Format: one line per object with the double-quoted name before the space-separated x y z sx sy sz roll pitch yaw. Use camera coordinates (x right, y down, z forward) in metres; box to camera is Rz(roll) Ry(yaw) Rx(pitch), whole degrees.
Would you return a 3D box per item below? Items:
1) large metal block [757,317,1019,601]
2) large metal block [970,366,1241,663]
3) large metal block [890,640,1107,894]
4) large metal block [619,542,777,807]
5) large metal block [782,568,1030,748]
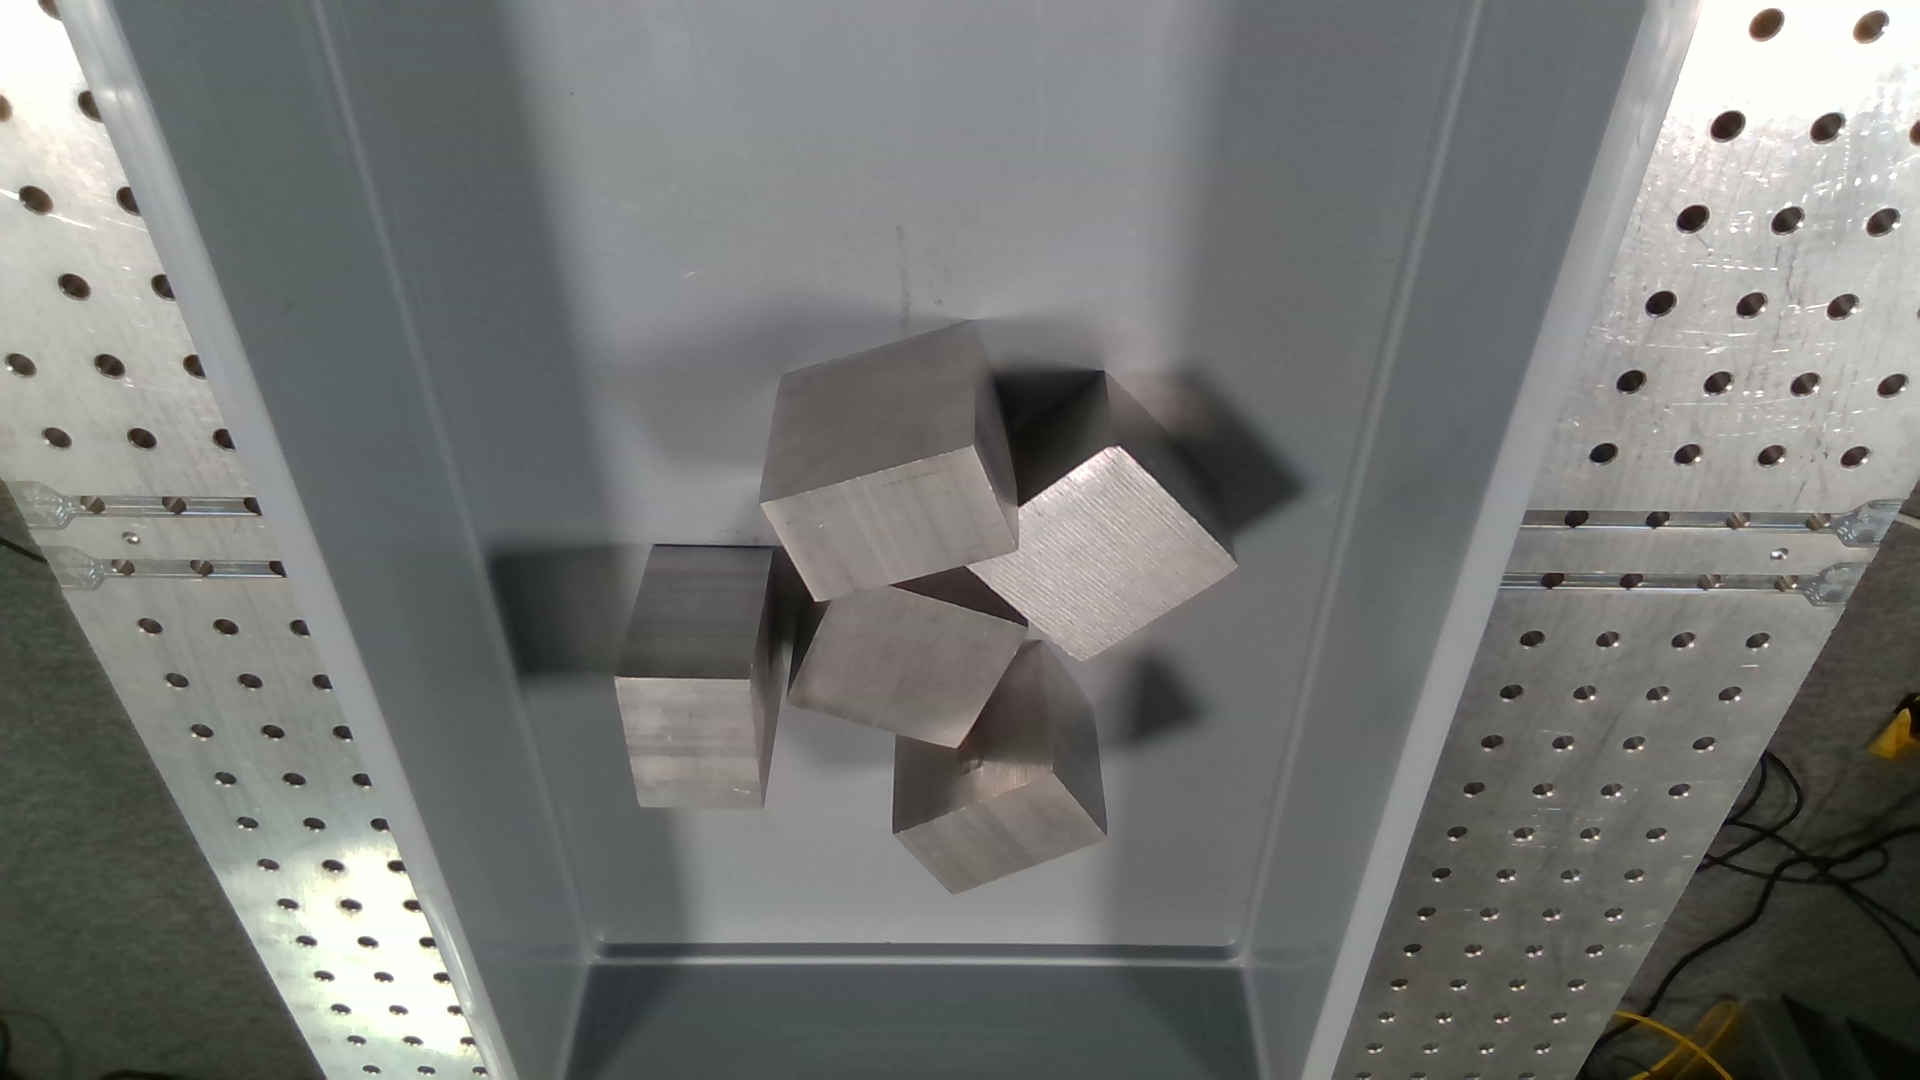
"large metal block" -0.025 -0.031 0.516 0.080 0.080 0.050 -15 128 12
"large metal block" 0.053 -0.008 0.554 0.080 0.050 0.080 -35 122 26
"large metal block" 0.017 0.103 0.628 0.080 0.080 0.050 -25 126 19
"large metal block" -0.108 0.057 0.591 0.050 0.080 0.080 1 130 0
"large metal block" -0.024 0.036 0.592 0.080 0.050 0.080 17 128 -14
